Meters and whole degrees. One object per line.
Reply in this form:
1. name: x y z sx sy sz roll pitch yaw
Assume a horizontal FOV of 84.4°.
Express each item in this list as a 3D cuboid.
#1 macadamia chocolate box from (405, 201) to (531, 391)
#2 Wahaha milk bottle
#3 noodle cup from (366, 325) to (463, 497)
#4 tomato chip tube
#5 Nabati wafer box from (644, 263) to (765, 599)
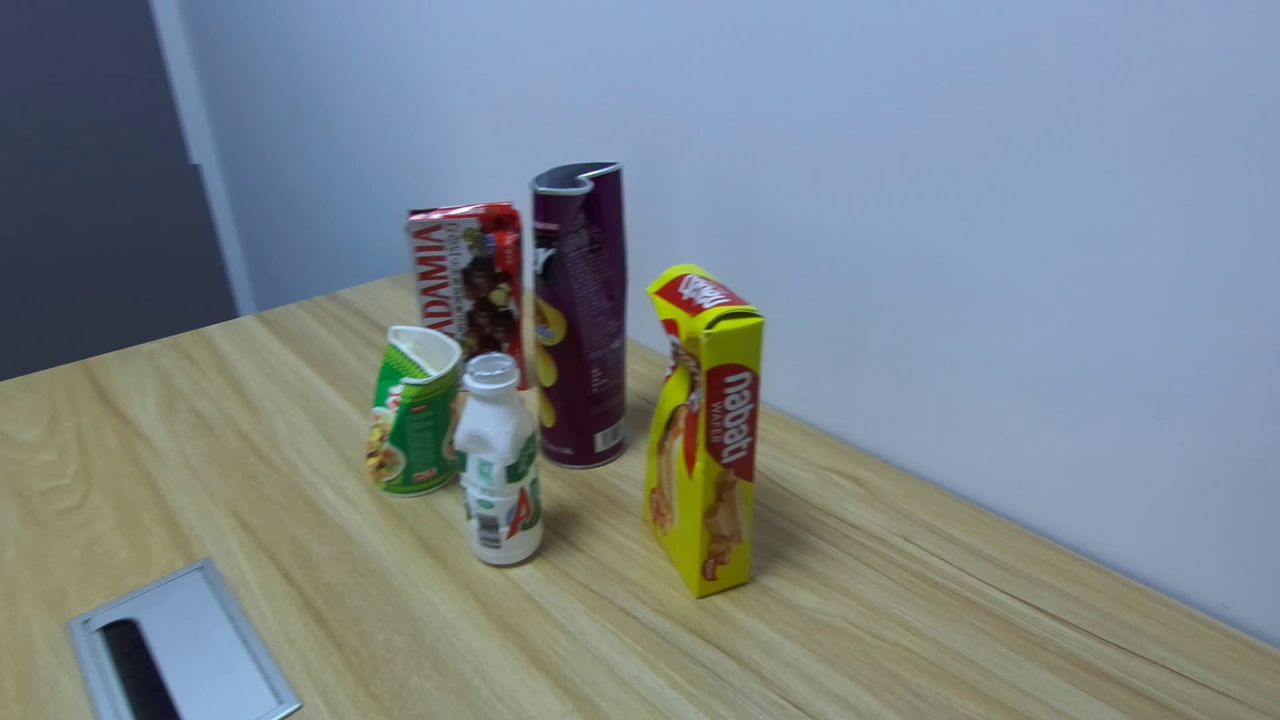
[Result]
1. macadamia chocolate box: -0.153 -0.054 0.654 0.103 0.187 0.027 1 31 1
2. Wahaha milk bottle: -0.095 0.066 0.474 0.055 0.149 0.055 -1 29 1
3. noodle cup: -0.180 0.044 0.555 0.075 0.122 0.083 12 20 3
4. tomato chip tube: -0.045 -0.030 0.562 0.078 0.235 0.076 -4 28 -11
5. Nabati wafer box: 0.036 0.044 0.458 0.042 0.204 0.106 -11 31 -18
